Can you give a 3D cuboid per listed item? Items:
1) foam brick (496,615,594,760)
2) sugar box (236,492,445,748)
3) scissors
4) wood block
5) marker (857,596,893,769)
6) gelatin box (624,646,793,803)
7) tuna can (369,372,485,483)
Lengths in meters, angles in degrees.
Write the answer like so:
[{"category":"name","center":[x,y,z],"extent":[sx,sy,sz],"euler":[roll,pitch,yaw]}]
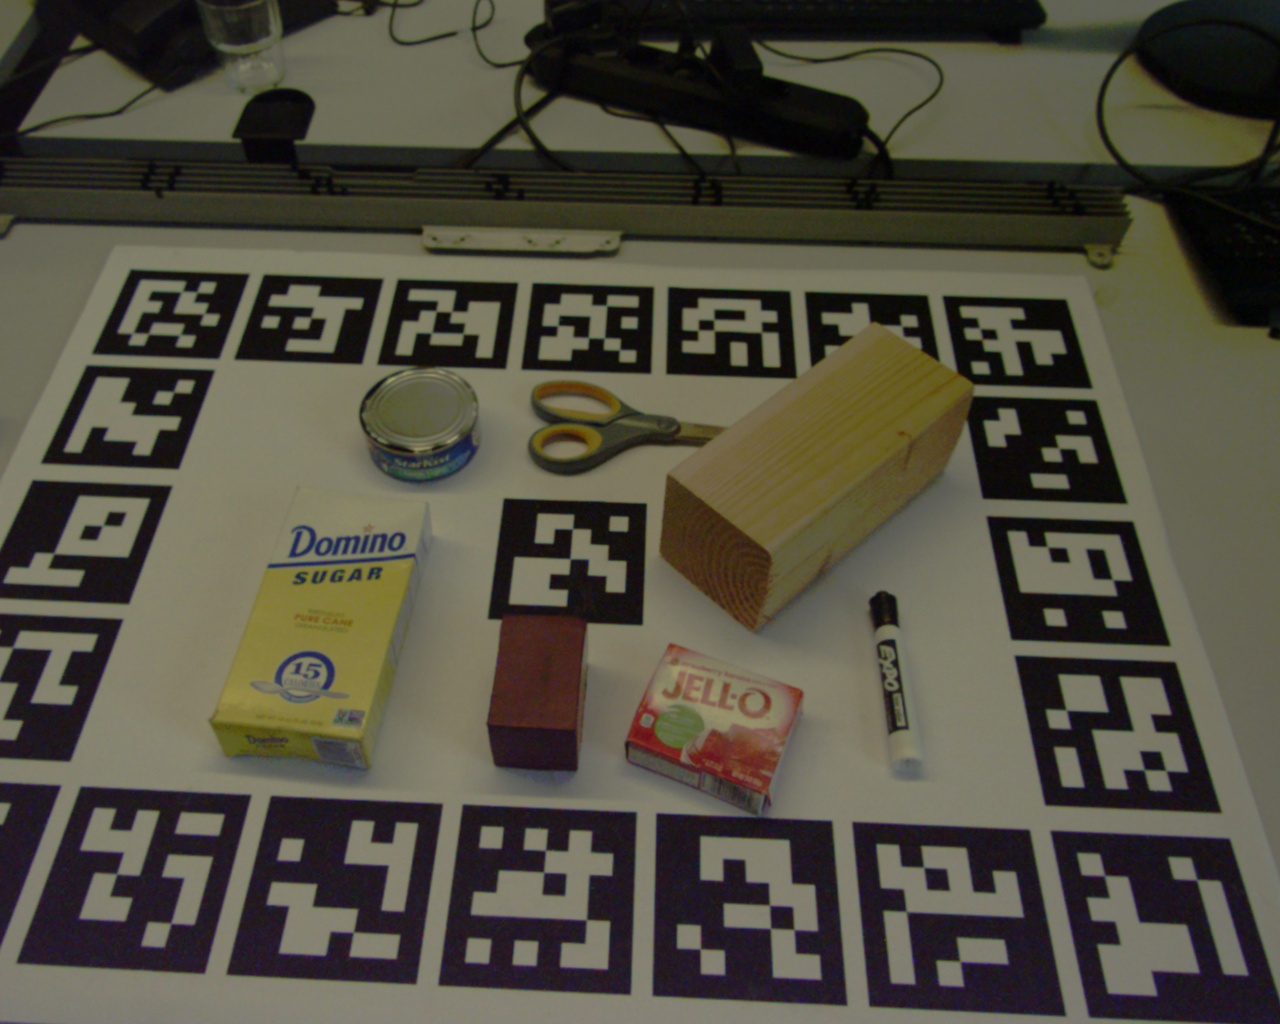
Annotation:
[{"category":"foam brick","center":[-0.059,0.113,0.730],"extent":[0.053,0.051,0.078],"euler":[4,54,3]},{"category":"sugar box","center":[-0.197,0.069,0.774],"extent":[0.093,0.045,0.176],"euler":[7,54,4]},{"category":"scissors","center":[0.011,-0.055,0.882],"extent":[0.204,0.016,0.088],"euler":[8,54,9]},{"category":"wood block","center":[0.125,-0.019,0.812],"extent":[0.205,0.090,0.091],"euler":[-36,61,-24]},{"category":"marker","center":[0.155,0.110,0.754],"extent":[0.020,0.019,0.121],"euler":[4,56,2]},{"category":"gelatin box","center":[0.044,0.134,0.732],"extent":[0.090,0.030,0.073],"euler":[18,56,14]},{"category":"tuna can","center":[-0.162,-0.065,0.875],"extent":[0.086,0.033,0.086],"euler":[-1,54,0]}]
